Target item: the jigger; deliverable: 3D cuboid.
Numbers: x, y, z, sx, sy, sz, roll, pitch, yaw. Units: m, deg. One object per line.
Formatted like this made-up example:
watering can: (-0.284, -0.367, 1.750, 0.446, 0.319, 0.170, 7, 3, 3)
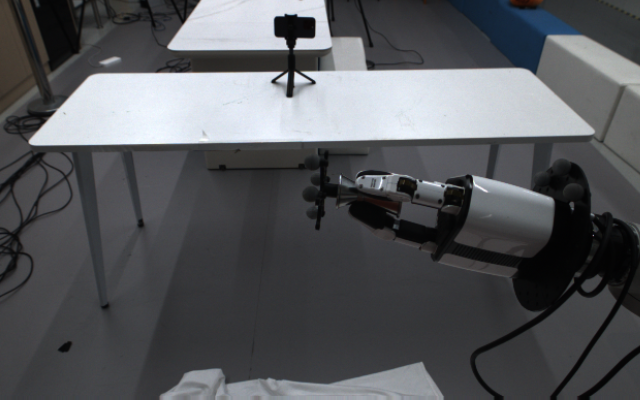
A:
jigger: (0.061, -0.010, 0.527, 0.071, 0.043, 0.043, 5, 35, 3)
